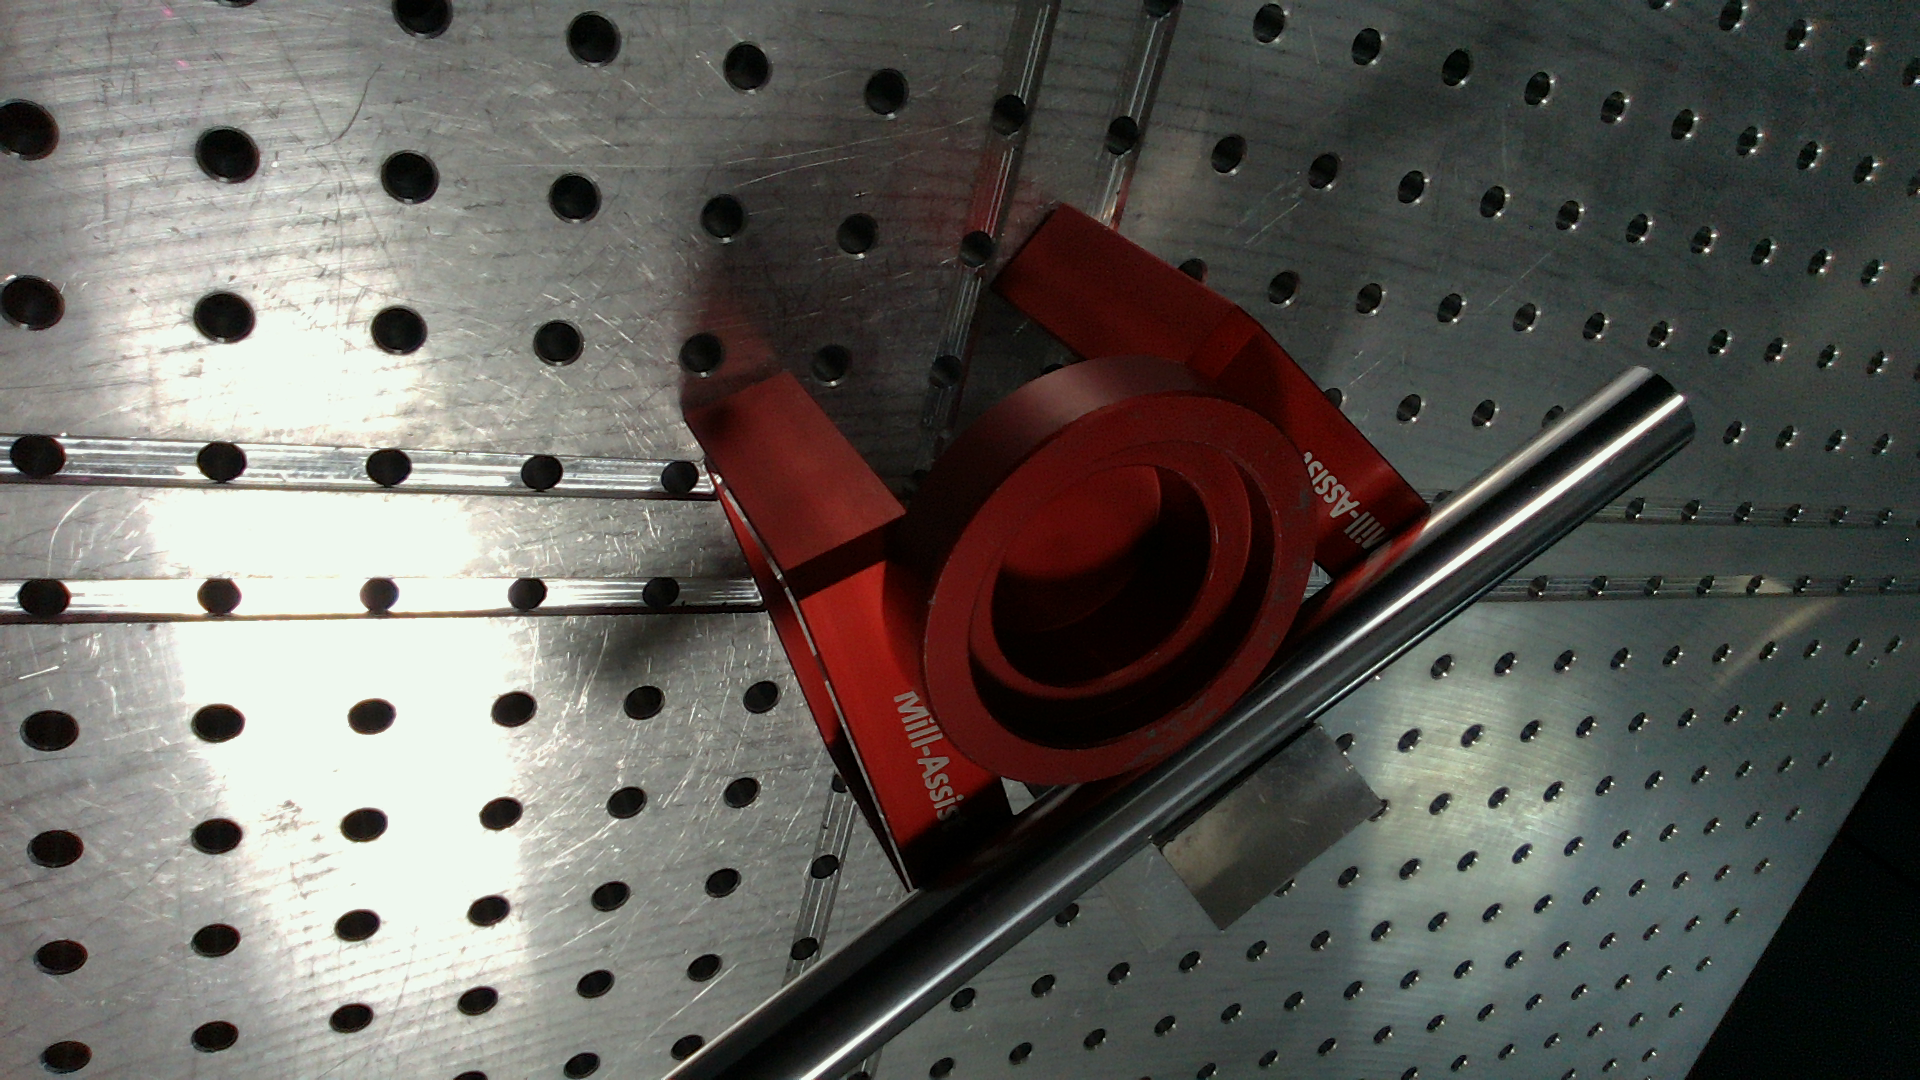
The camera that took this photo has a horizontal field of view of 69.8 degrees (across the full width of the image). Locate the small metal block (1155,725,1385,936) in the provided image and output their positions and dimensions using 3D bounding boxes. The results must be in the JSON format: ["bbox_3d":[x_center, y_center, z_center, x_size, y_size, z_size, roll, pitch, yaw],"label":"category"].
[{"bbox_3d":[0.075,0.073,0.356,0.050,0.050,0.025,-37,84,-4],"label":"small metal block"}]

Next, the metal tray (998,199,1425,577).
[{"bbox_3d":[0.077,-0.030,0.372,0.030,0.090,0.130,-49,129,7],"label":"metal tray"}]

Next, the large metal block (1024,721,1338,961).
[{"bbox_3d":[0.063,0.066,0.427,0.080,0.080,0.050,-36,129,-4],"label":"large metal block"}]

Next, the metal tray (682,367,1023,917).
[{"bbox_3d":[-0.025,0.031,0.355,0.030,0.090,0.130,-26,128,-12],"label":"metal tray"}]

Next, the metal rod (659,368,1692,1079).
[{"bbox_3d":[0.055,0.053,0.338,0.300,0.025,0.025,-36,129,-5],"label":"metal rod"}]

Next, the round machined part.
[{"bbox_3d":[0.028,0.003,0.309,0.098,0.042,0.098,-14,124,-21],"label":"round machined part"}]
